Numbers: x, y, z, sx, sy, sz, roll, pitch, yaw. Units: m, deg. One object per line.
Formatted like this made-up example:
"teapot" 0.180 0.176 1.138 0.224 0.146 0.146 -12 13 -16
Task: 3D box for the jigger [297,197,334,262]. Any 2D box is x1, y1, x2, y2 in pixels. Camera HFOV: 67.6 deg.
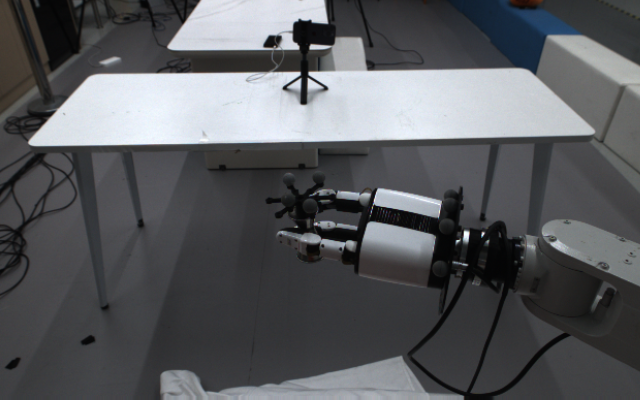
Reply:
"jigger" -0.014 0.039 0.630 0.043 0.071 0.043 -9 31 5
